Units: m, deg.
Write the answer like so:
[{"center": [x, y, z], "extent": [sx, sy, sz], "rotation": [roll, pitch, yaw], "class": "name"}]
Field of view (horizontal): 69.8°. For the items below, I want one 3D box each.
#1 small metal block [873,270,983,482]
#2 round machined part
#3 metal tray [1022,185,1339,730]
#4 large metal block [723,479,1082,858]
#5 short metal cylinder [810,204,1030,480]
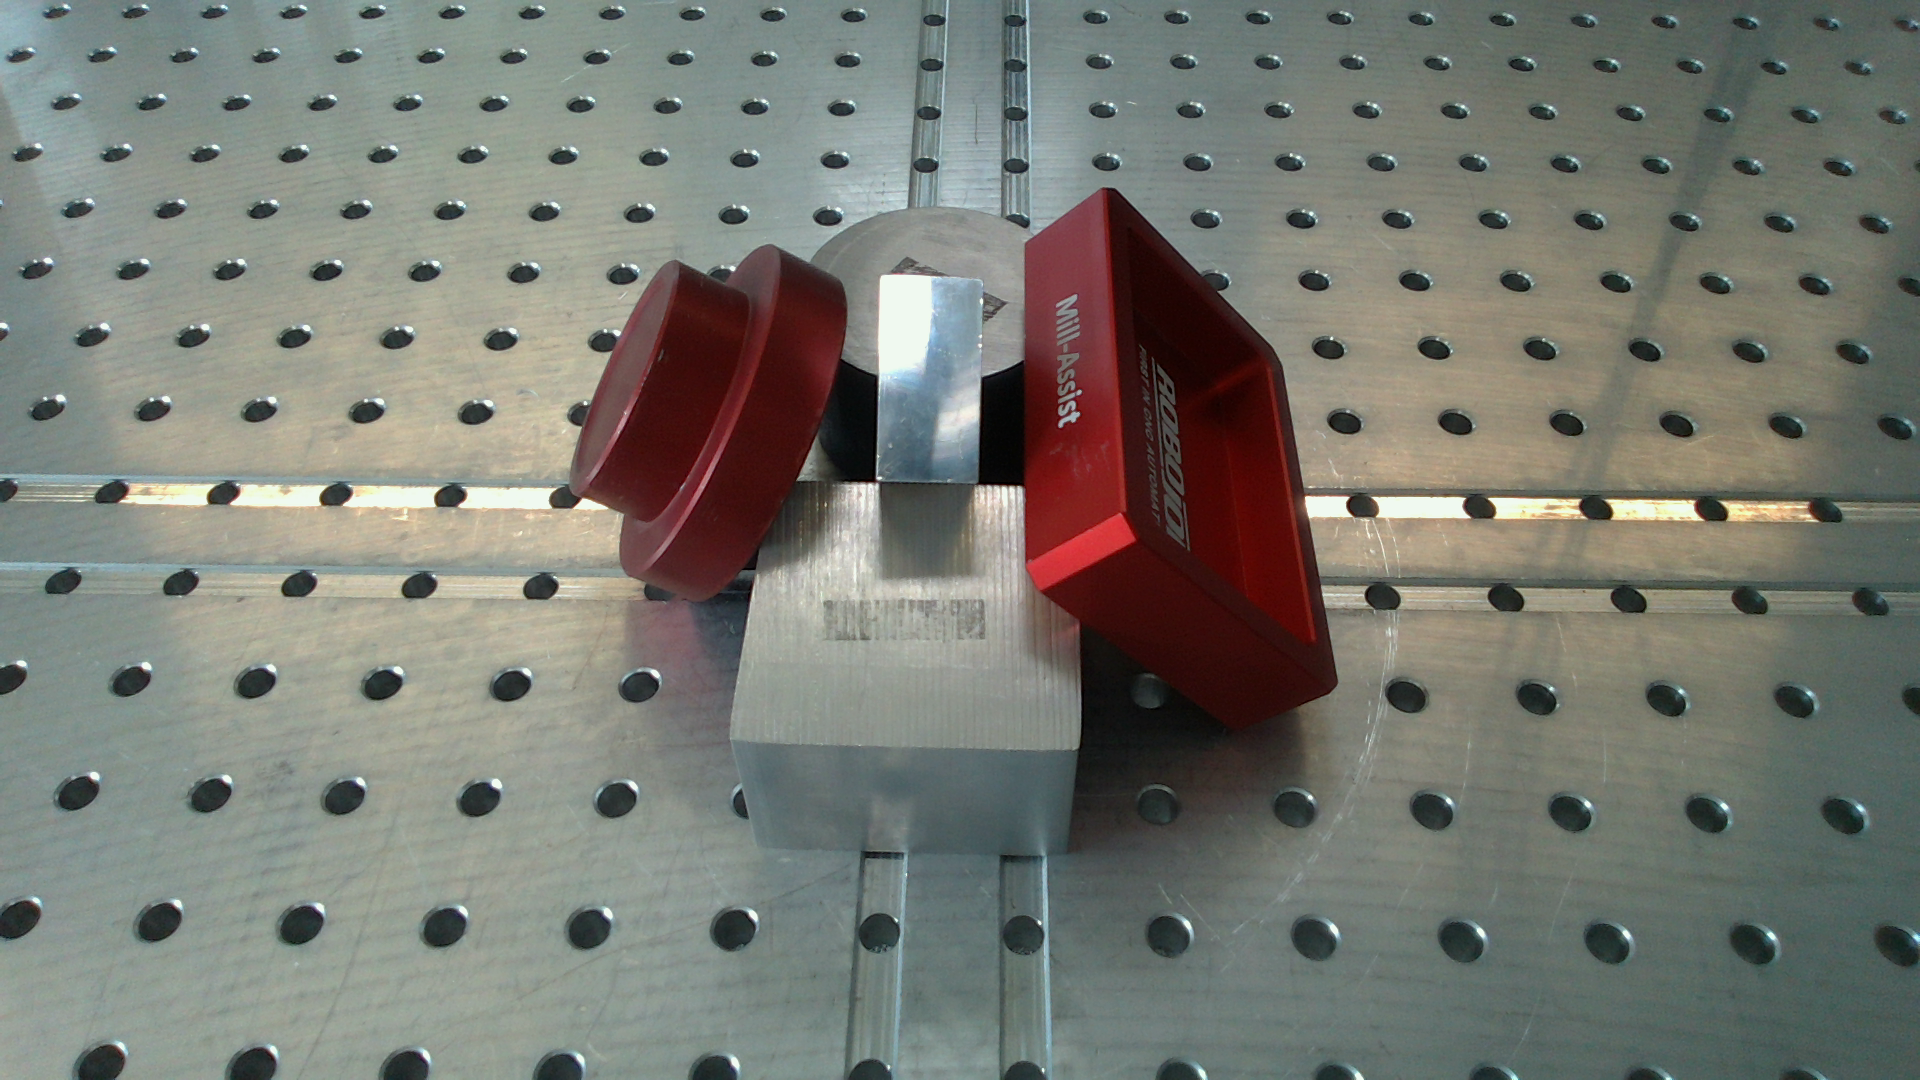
[{"center": [-0.009, -0.040, 0.357], "extent": [0.025, 0.050, 0.050], "rotation": [2, 92, -2], "class": "small metal block"}, {"center": [-0.073, -0.037, 0.372], "extent": [0.042, 0.098, 0.098], "rotation": [24, 45, -24], "class": "round machined part"}, {"center": [0.058, -0.025, 0.375], "extent": [0.030, 0.090, 0.130], "rotation": [-30, 40, 32], "class": "metal tray"}, {"center": [-0.011, 0.032, 0.351], "extent": [0.080, 0.050, 0.080], "rotation": [2, 50, 1], "class": "large metal block"}, {"center": [-0.008, -0.059, 0.427], "extent": [0.080, 0.050, 0.080], "rotation": [0, 50, 0], "class": "short metal cylinder"}]
